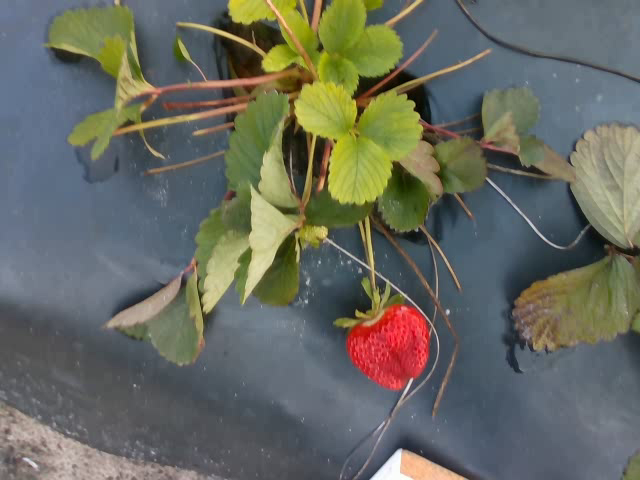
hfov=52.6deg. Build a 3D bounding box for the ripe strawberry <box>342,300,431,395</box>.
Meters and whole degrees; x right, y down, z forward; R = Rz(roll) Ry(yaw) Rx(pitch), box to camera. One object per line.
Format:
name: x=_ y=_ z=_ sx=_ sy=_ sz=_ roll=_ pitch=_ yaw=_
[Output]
ripe strawberry: x=0.011 y=0.019 z=0.103 sx=0.017 sy=0.015 sz=0.013 roll=-34 pitch=-26 yaw=30
